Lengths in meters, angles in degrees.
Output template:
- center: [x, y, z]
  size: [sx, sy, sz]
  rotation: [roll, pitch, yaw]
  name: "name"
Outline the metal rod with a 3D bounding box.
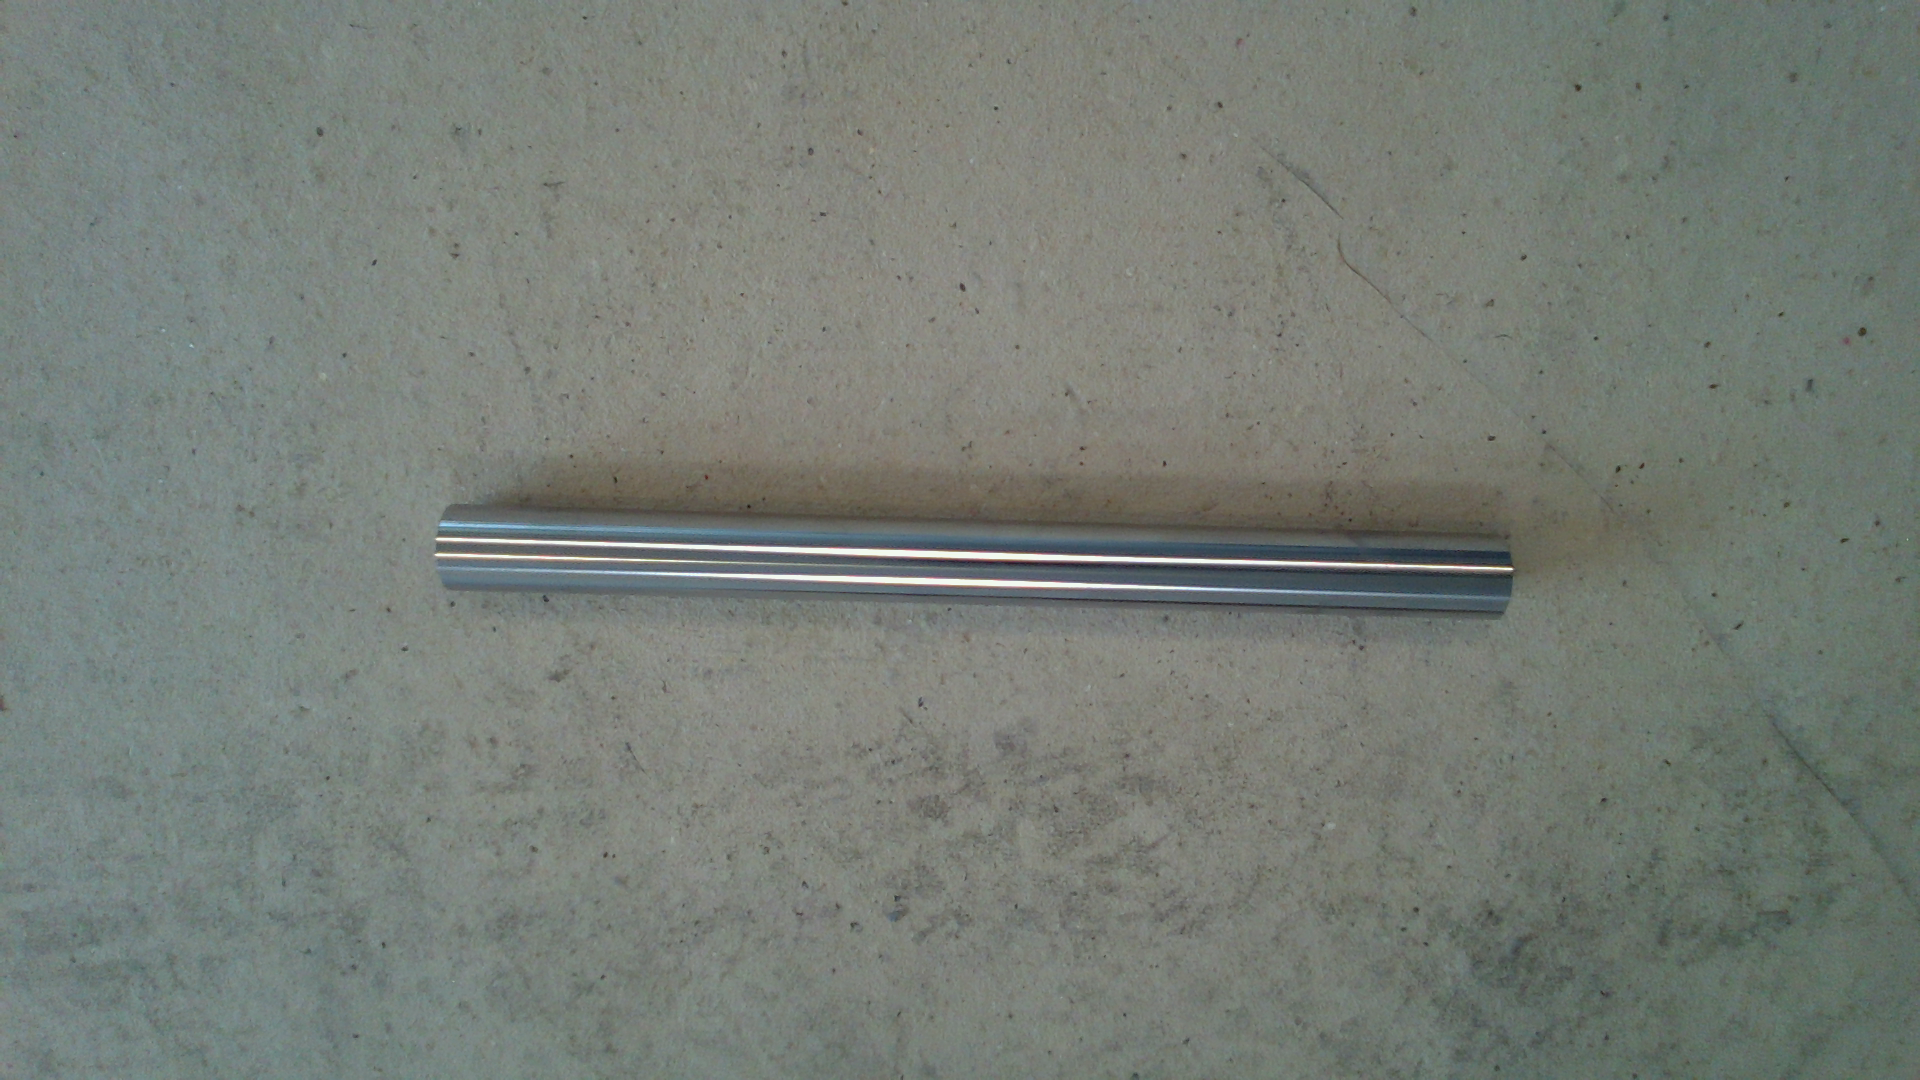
- center: [0.004, 0.006, 0.396]
  size: [0.300, 0.025, 0.025]
  rotation: [2, 110, -1]
  name: "metal rod"
